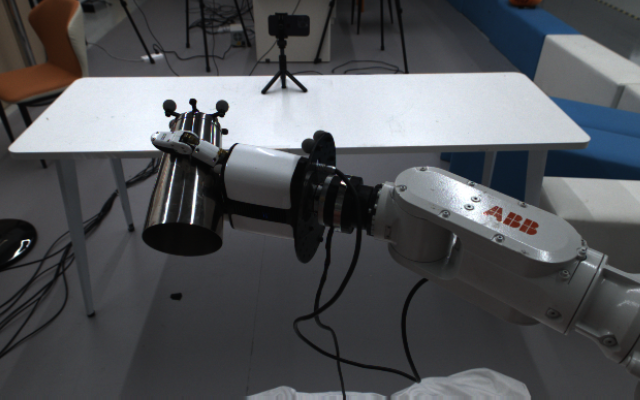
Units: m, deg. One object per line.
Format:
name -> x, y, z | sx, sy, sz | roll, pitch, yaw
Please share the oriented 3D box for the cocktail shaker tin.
cocktail shaker tin -> -0.164, -0.026, 0.605 | 0.093, 0.093, 0.170 | 0, 59, -3
